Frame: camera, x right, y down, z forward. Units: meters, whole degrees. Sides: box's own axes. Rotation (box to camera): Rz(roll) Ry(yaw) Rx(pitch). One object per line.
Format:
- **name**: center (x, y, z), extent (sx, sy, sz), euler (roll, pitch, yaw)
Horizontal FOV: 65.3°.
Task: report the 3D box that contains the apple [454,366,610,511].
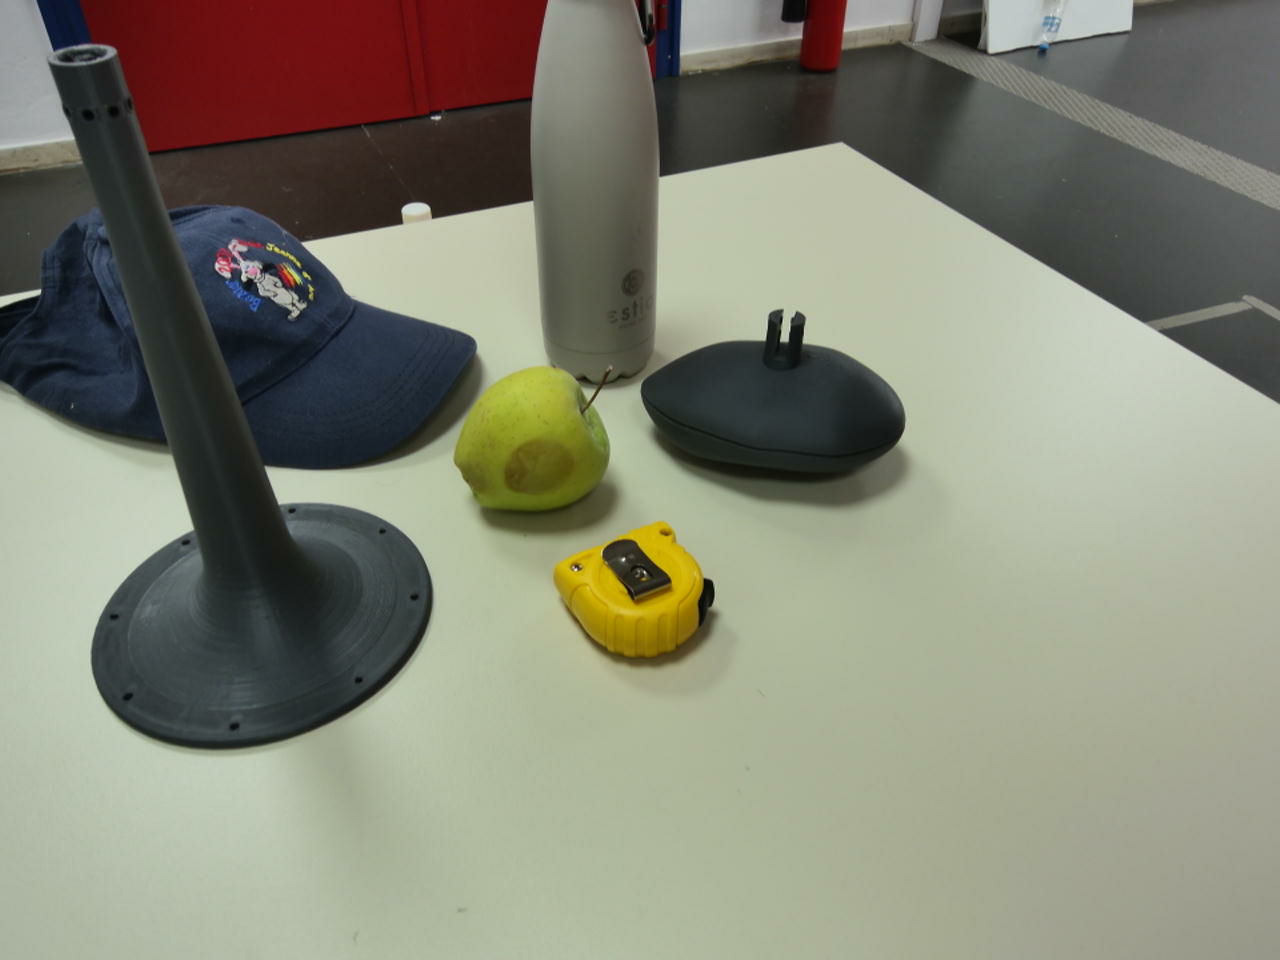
- **apple**: center (-0.054, -0.022, 0.516), extent (0.077, 0.075, 0.072), euler (13, 40, 14)
